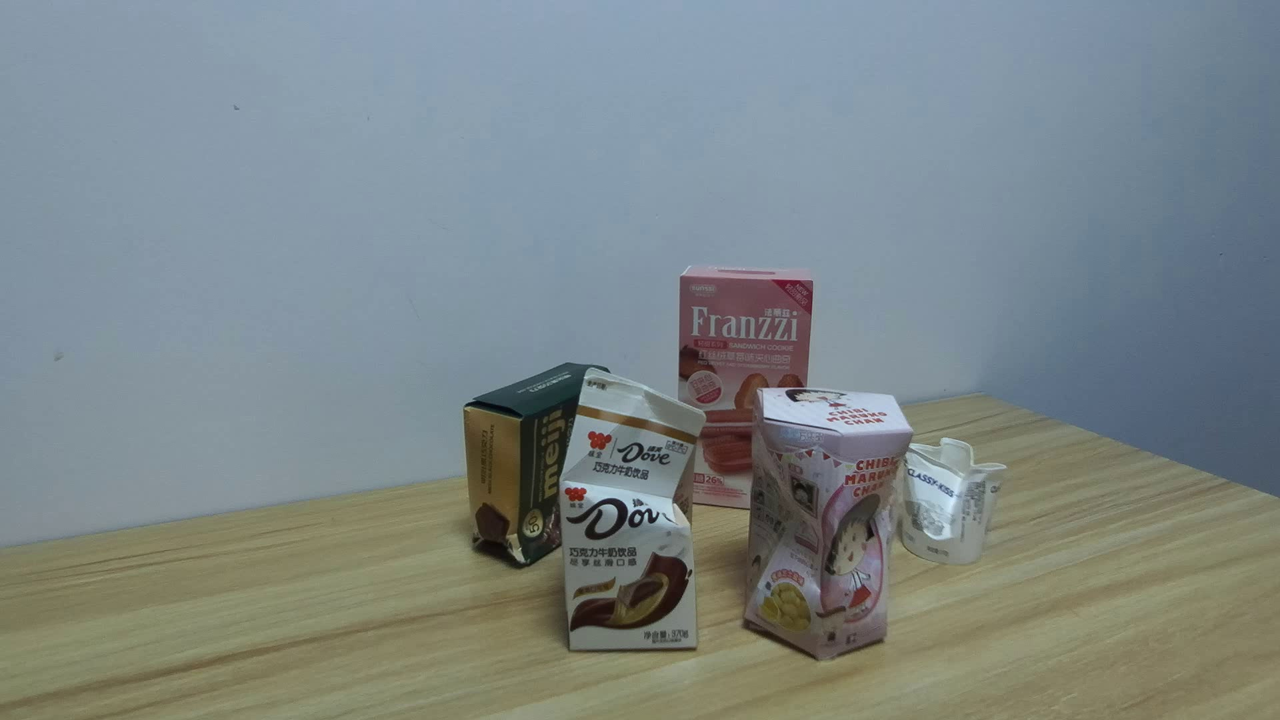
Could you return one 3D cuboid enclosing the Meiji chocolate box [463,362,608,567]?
[{"bbox_3d":[-0.067,0.069,0.509,0.058,0.116,0.123,11,18,33],"label":"Meiji chocolate box"}]

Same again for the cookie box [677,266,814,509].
[{"bbox_3d":[0.079,0.022,0.548,0.096,0.184,0.048,3,19,10],"label":"cookie box"}]

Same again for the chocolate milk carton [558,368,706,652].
[{"bbox_3d":[-0.003,0.077,0.398,0.076,0.155,0.073,1,19,0],"label":"chocolate milk carton"}]

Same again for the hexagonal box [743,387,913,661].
[{"bbox_3d":[0.101,0.089,0.401,0.093,0.134,0.089,11,19,30],"label":"hexagonal box"}]

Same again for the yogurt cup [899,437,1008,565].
[{"bbox_3d":[0.215,0.097,0.490,0.055,0.072,0.054,-2,17,-18],"label":"yogurt cup"}]
